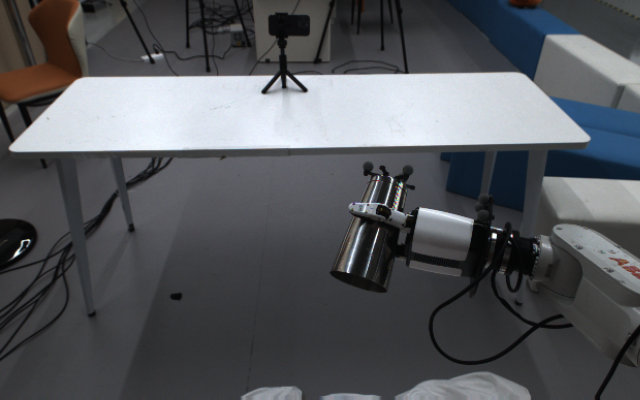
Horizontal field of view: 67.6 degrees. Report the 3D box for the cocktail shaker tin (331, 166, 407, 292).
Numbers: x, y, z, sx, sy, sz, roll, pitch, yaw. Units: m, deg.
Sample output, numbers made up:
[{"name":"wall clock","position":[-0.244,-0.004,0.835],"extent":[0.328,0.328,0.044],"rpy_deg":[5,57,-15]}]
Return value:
[{"name":"cocktail shaker tin","position":[0.084,0.049,0.764],"extent":[0.093,0.093,0.170],"rpy_deg":[14,70,16]}]
